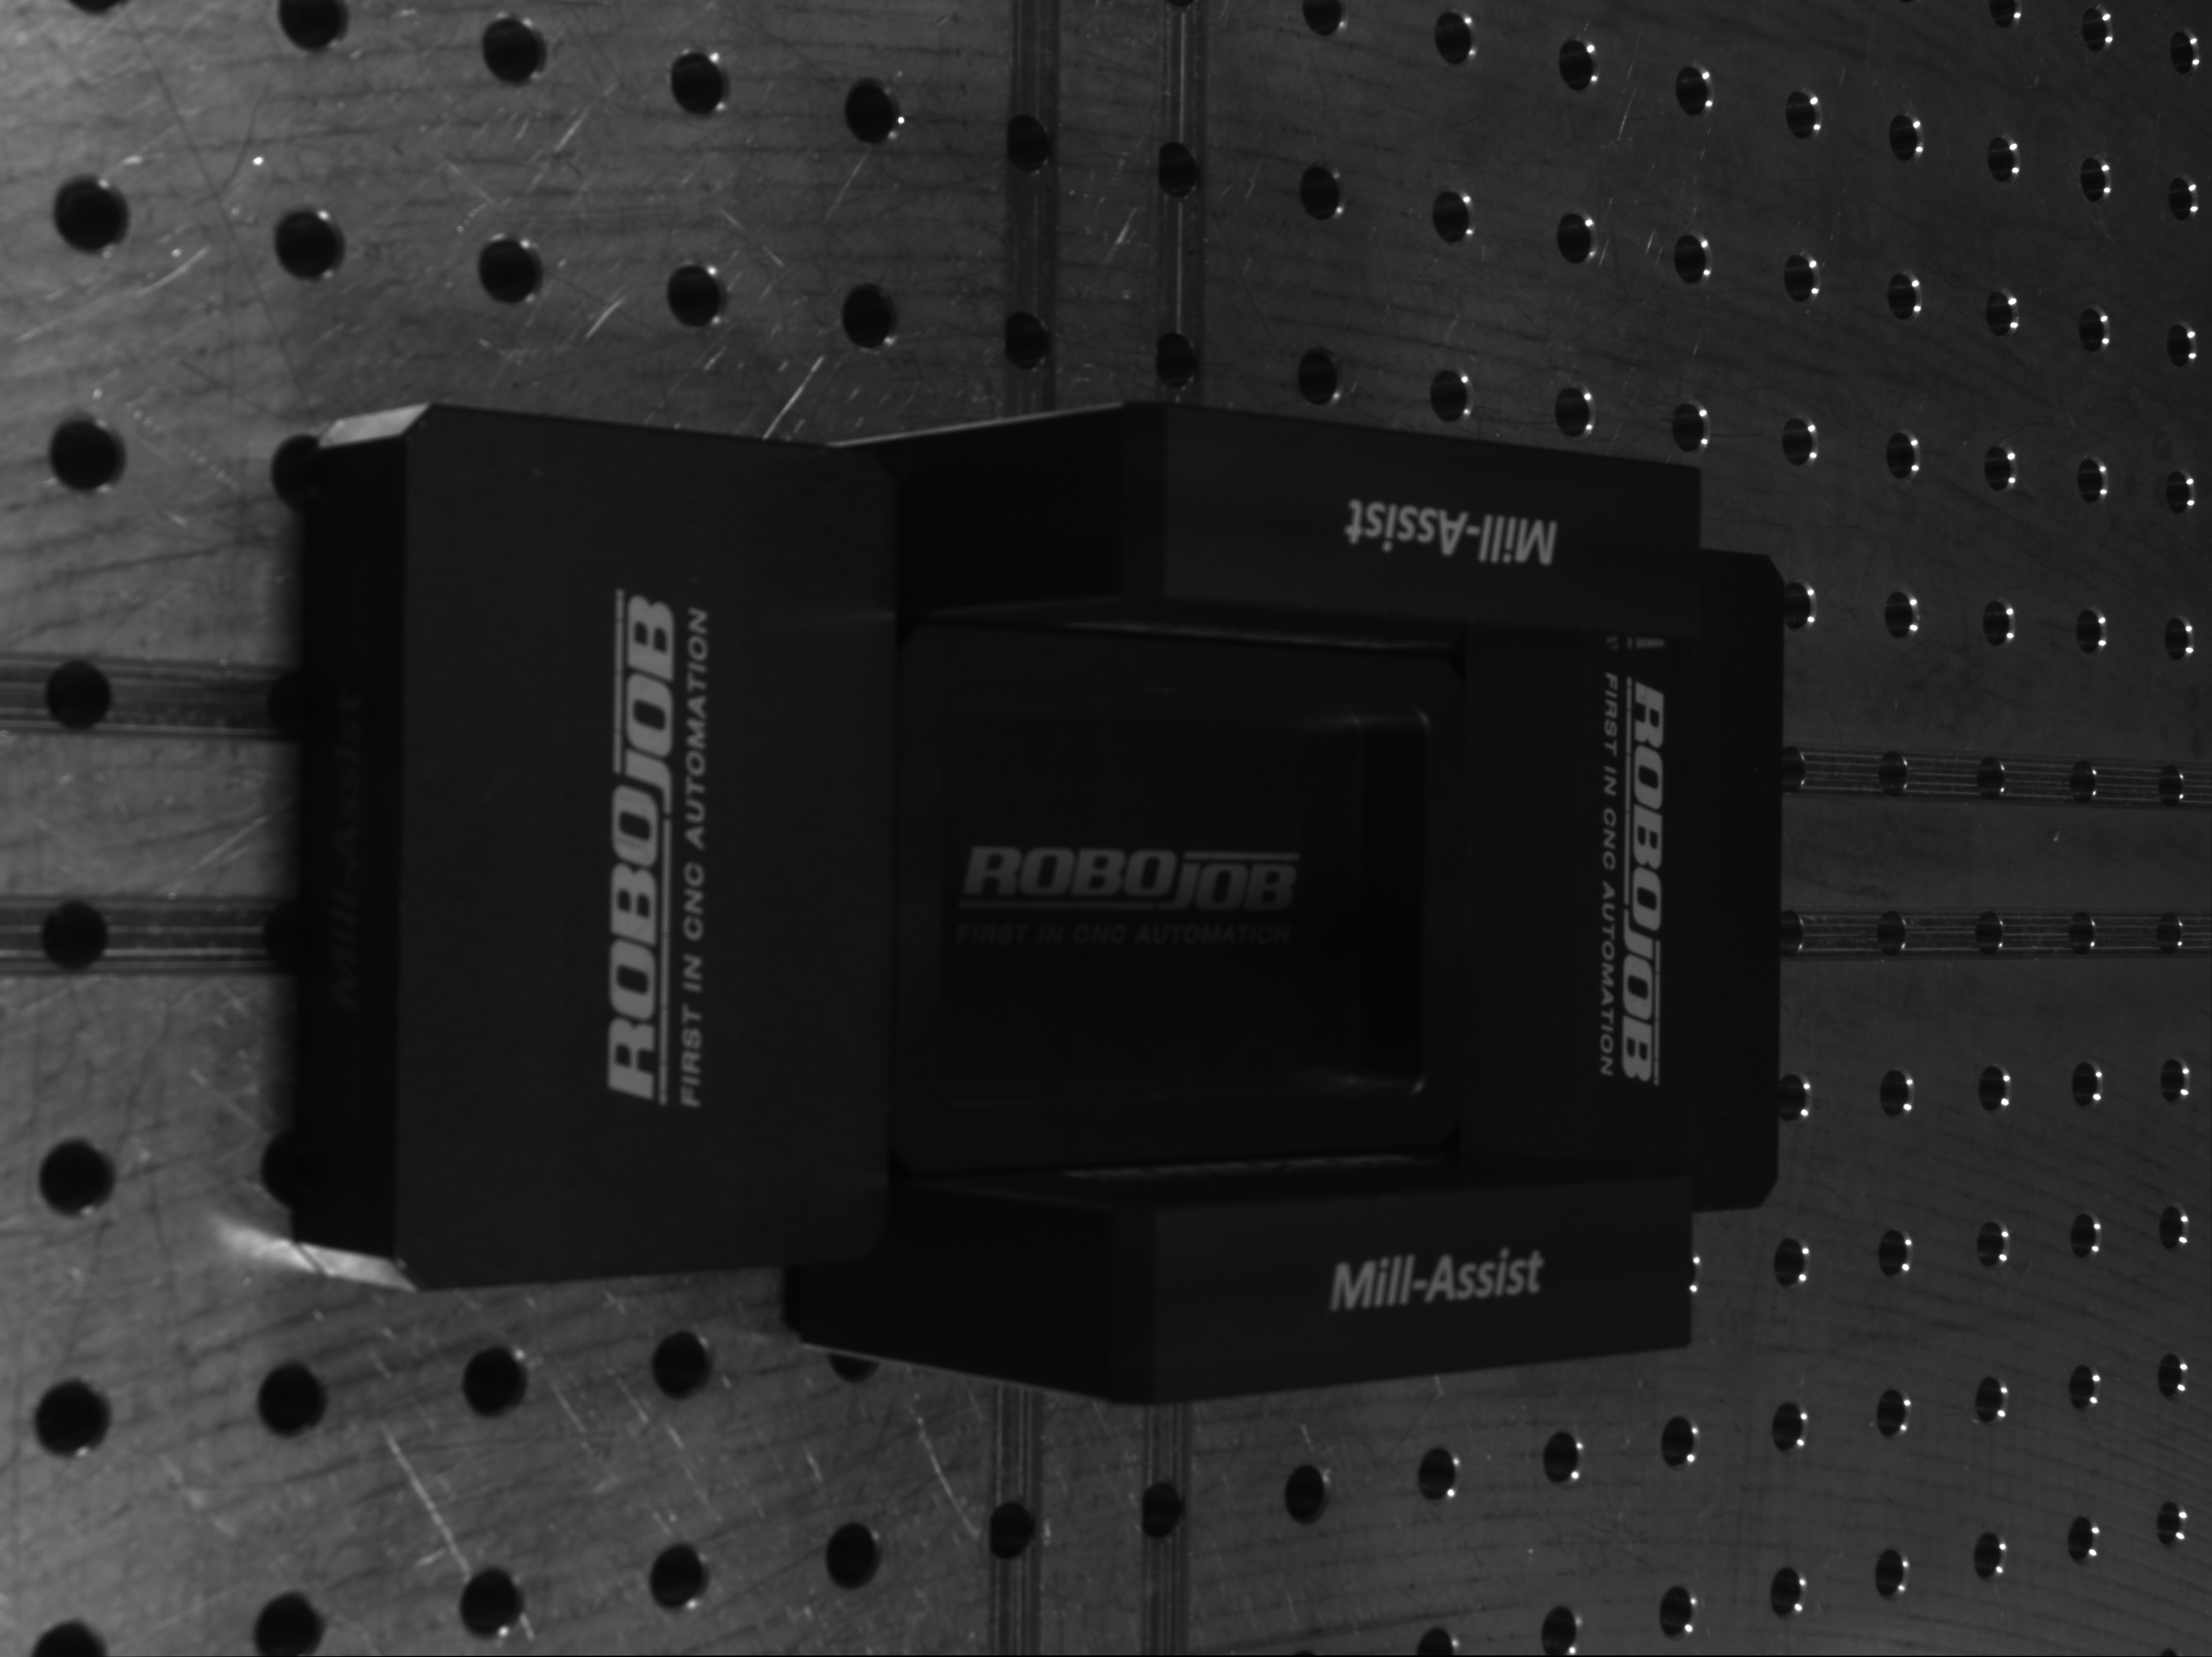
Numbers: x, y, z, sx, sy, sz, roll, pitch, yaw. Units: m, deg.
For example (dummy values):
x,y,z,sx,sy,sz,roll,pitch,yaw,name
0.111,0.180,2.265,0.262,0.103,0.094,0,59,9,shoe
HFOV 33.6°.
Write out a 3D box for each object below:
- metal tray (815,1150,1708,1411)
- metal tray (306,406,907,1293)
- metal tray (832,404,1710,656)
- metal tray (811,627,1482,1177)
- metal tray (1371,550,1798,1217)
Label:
x,y,z,sx,sy,sz,roll,pitch,yaw,name
0.027,0.073,0.619,0.130,0.090,0.030,1,89,-40,metal tray
-0.077,0.004,0.573,0.090,0.030,0.130,1,89,-40,metal tray
0.028,-0.048,0.622,0.130,0.090,0.030,1,89,-40,metal tray
0.010,0.012,0.642,0.130,0.030,0.090,1,89,-40,metal tray
0.094,0.010,0.713,0.090,0.030,0.130,1,89,-41,metal tray
